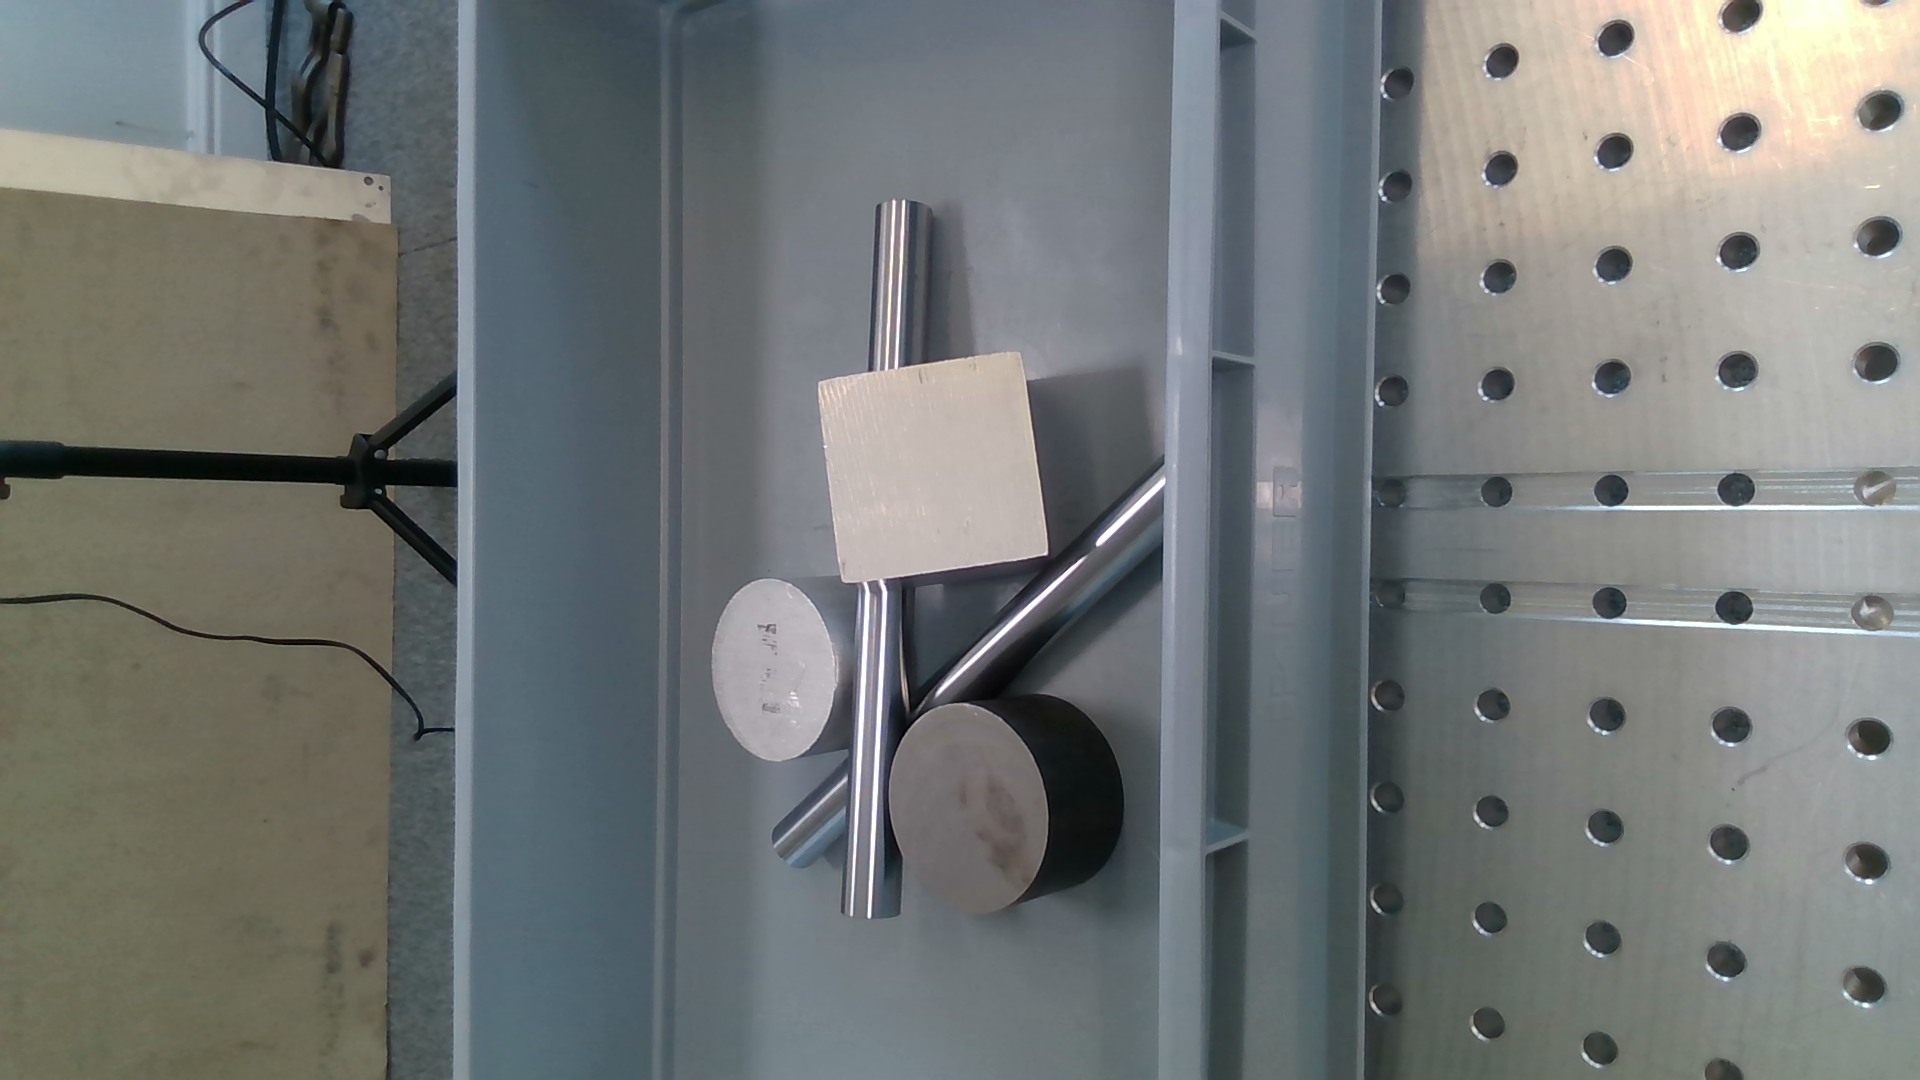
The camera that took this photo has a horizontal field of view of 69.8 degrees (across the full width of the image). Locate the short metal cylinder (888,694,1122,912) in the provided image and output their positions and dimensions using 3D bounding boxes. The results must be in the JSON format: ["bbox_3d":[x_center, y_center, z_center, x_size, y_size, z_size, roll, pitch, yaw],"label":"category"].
[{"bbox_3d":[0.018,0.103,0.551,0.080,0.050,0.080,0,91,40],"label":"short metal cylinder"}]

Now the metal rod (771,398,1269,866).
[{"bbox_3d":[0.012,0.051,0.572,0.301,0.025,0.025,-46,63,31],"label":"metal rod"}]

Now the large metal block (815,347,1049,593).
[{"bbox_3d":[-0.009,-0.026,0.548,0.080,0.050,0.080,-8,84,5],"label":"large metal block"}]

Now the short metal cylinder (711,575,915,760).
[{"bbox_3d":[-0.067,0.056,0.622,0.080,0.050,0.080,0,91,40],"label":"short metal cylinder"}]

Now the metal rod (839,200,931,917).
[{"bbox_3d":[-0.031,0.005,0.585,0.025,0.025,0.300,-2,83,40],"label":"metal rod"}]
